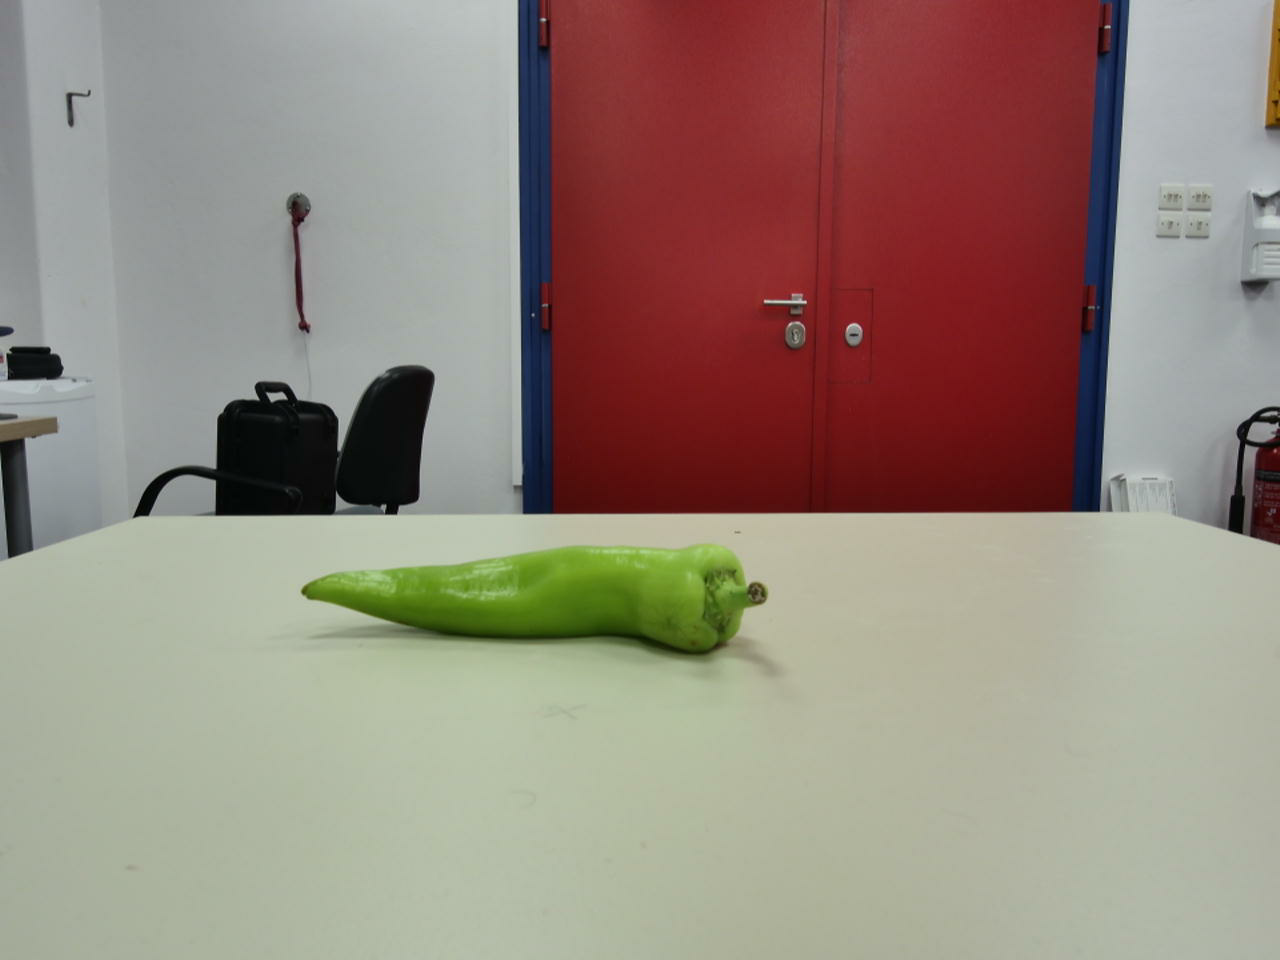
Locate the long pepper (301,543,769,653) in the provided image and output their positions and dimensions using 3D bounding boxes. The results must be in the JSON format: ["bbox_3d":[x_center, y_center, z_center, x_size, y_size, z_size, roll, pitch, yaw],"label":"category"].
[{"bbox_3d":[-0.042,0.049,0.441,0.205,0.045,0.065,1,4,16],"label":"long pepper"}]
